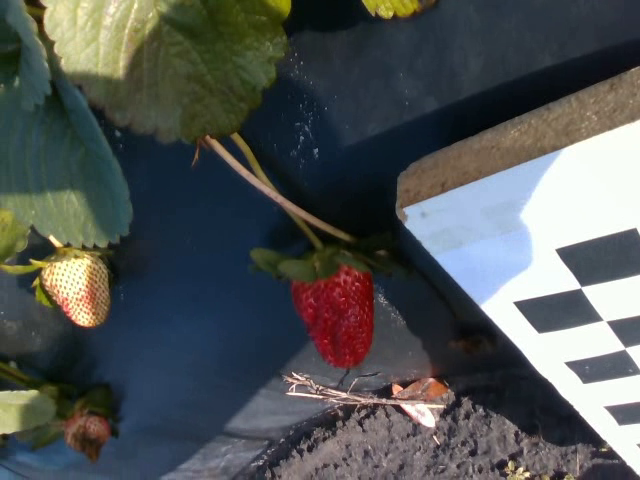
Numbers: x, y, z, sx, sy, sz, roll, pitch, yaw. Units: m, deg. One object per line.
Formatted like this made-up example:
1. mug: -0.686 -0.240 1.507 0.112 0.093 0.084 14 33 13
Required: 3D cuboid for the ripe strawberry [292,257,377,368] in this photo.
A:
1. ripe strawberry: 0.002 0.010 0.095 0.015 0.023 0.015 -14 -4 27
